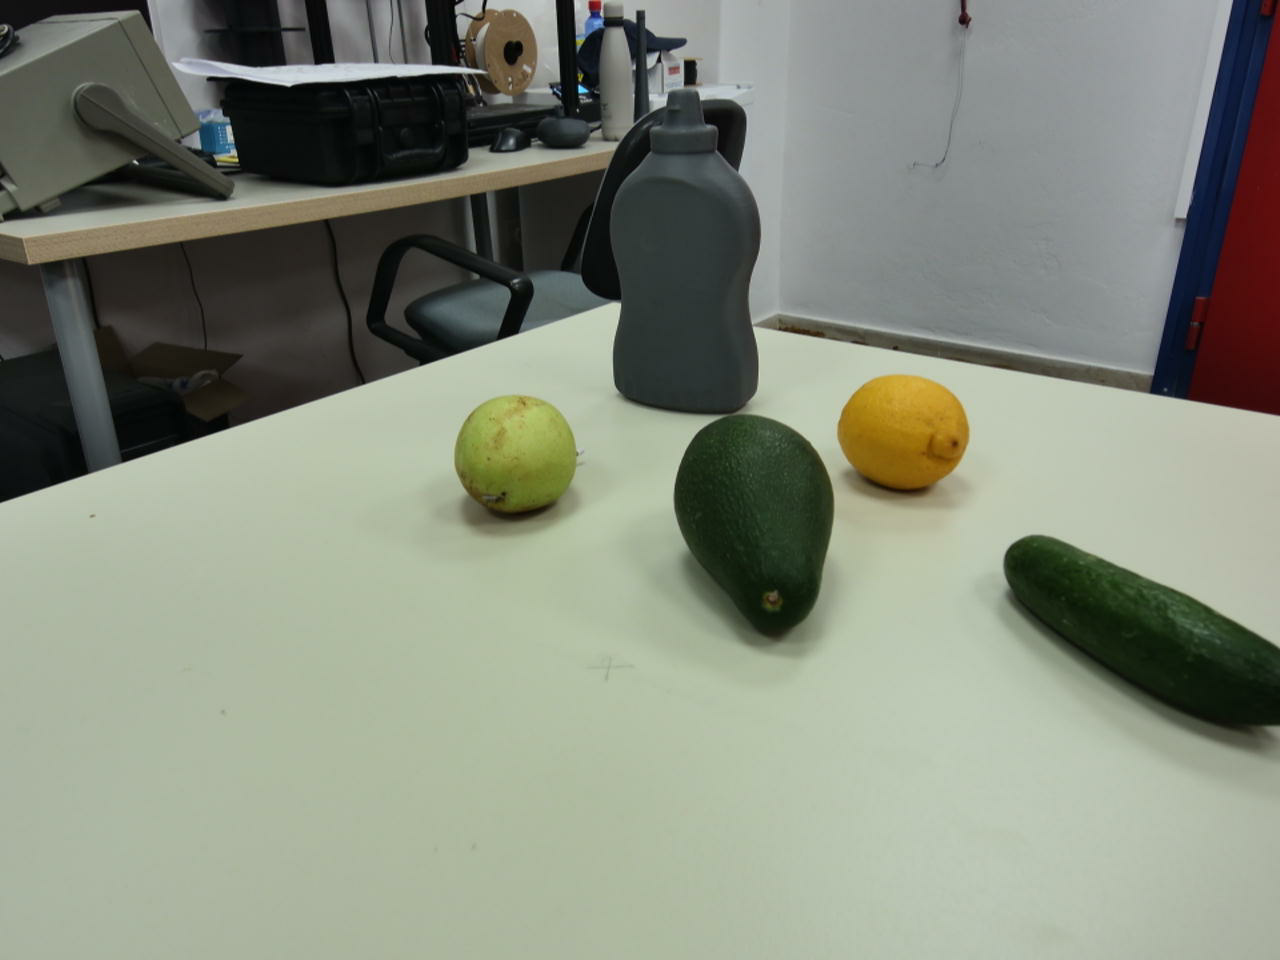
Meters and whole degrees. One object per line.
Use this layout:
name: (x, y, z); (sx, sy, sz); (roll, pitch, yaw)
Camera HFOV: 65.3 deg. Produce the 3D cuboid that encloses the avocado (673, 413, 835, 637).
avocado: (0.047, 0.013, 0.432); (0.073, 0.071, 0.109); (5, 23, 15)
